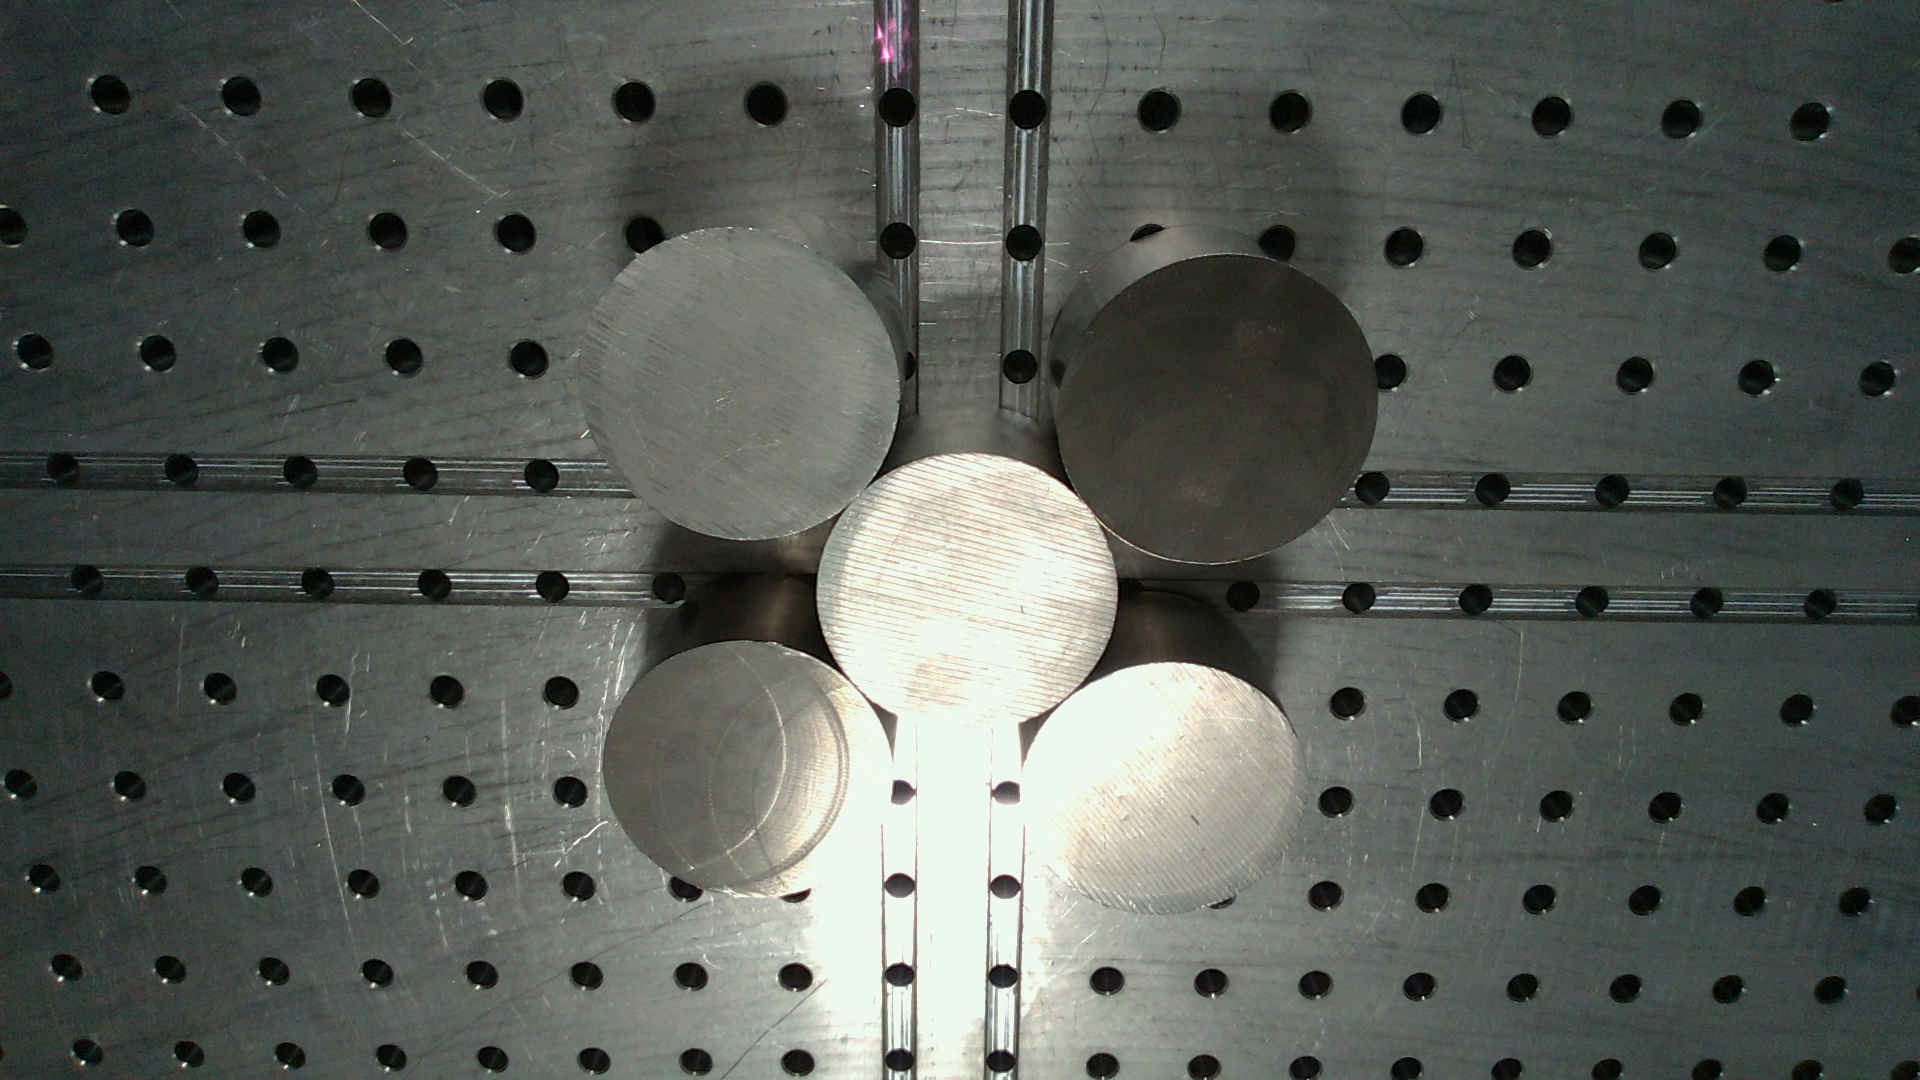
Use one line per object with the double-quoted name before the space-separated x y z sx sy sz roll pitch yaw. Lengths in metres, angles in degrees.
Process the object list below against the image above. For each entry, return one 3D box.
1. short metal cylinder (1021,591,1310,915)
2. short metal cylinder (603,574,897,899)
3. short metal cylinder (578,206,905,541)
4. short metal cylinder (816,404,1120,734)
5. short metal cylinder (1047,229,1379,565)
"short metal cylinder" 0.057 0.062 0.406 0.080 0.050 0.080 0 110 0
"short metal cylinder" -0.058 0.056 0.403 0.080 0.050 0.080 0 110 0
"short metal cylinder" -0.055 -0.046 0.365 0.080 0.050 0.080 0 110 0
"short metal cylinder" 0.002 0.007 0.385 0.080 0.050 0.080 0 110 0
"short metal cylinder" 0.065 -0.040 0.367 0.080 0.050 0.080 0 110 0
